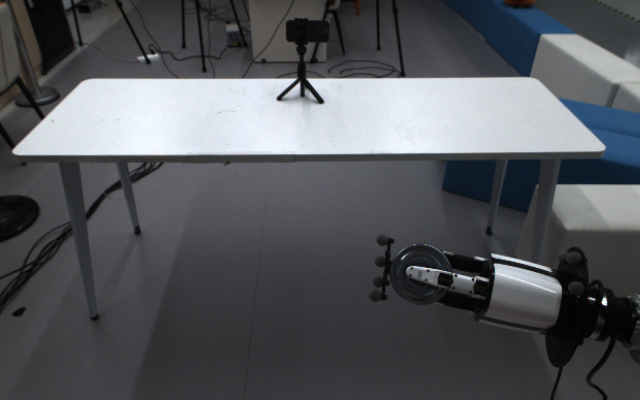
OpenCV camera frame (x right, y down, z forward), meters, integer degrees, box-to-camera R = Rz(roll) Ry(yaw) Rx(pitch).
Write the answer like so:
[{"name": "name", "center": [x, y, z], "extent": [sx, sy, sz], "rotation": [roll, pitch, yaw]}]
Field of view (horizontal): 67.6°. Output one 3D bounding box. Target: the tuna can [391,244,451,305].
[{"name": "tuna can", "center": [0.145, 0.101, 0.679], "extent": [0.085, 0.085, 0.034], "rotation": [9, -7, 10]}]
